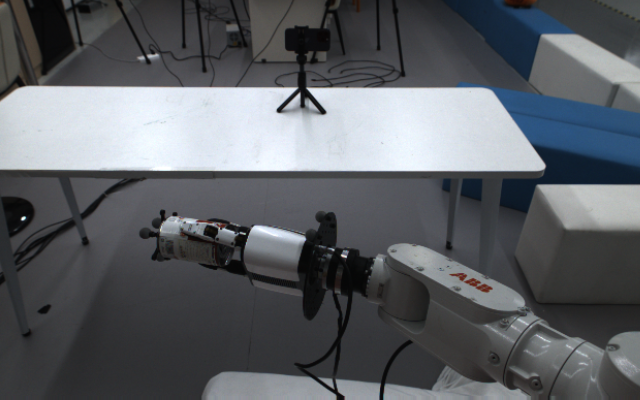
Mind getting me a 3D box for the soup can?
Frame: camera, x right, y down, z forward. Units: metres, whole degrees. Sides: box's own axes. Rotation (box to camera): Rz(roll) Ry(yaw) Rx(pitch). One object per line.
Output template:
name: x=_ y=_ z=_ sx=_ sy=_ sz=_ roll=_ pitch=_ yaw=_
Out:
soup can: x=-0.189 y=0.065 z=0.748 sx=0.101 sy=0.067 sz=0.067 roll=7 pitch=35 yaw=10
